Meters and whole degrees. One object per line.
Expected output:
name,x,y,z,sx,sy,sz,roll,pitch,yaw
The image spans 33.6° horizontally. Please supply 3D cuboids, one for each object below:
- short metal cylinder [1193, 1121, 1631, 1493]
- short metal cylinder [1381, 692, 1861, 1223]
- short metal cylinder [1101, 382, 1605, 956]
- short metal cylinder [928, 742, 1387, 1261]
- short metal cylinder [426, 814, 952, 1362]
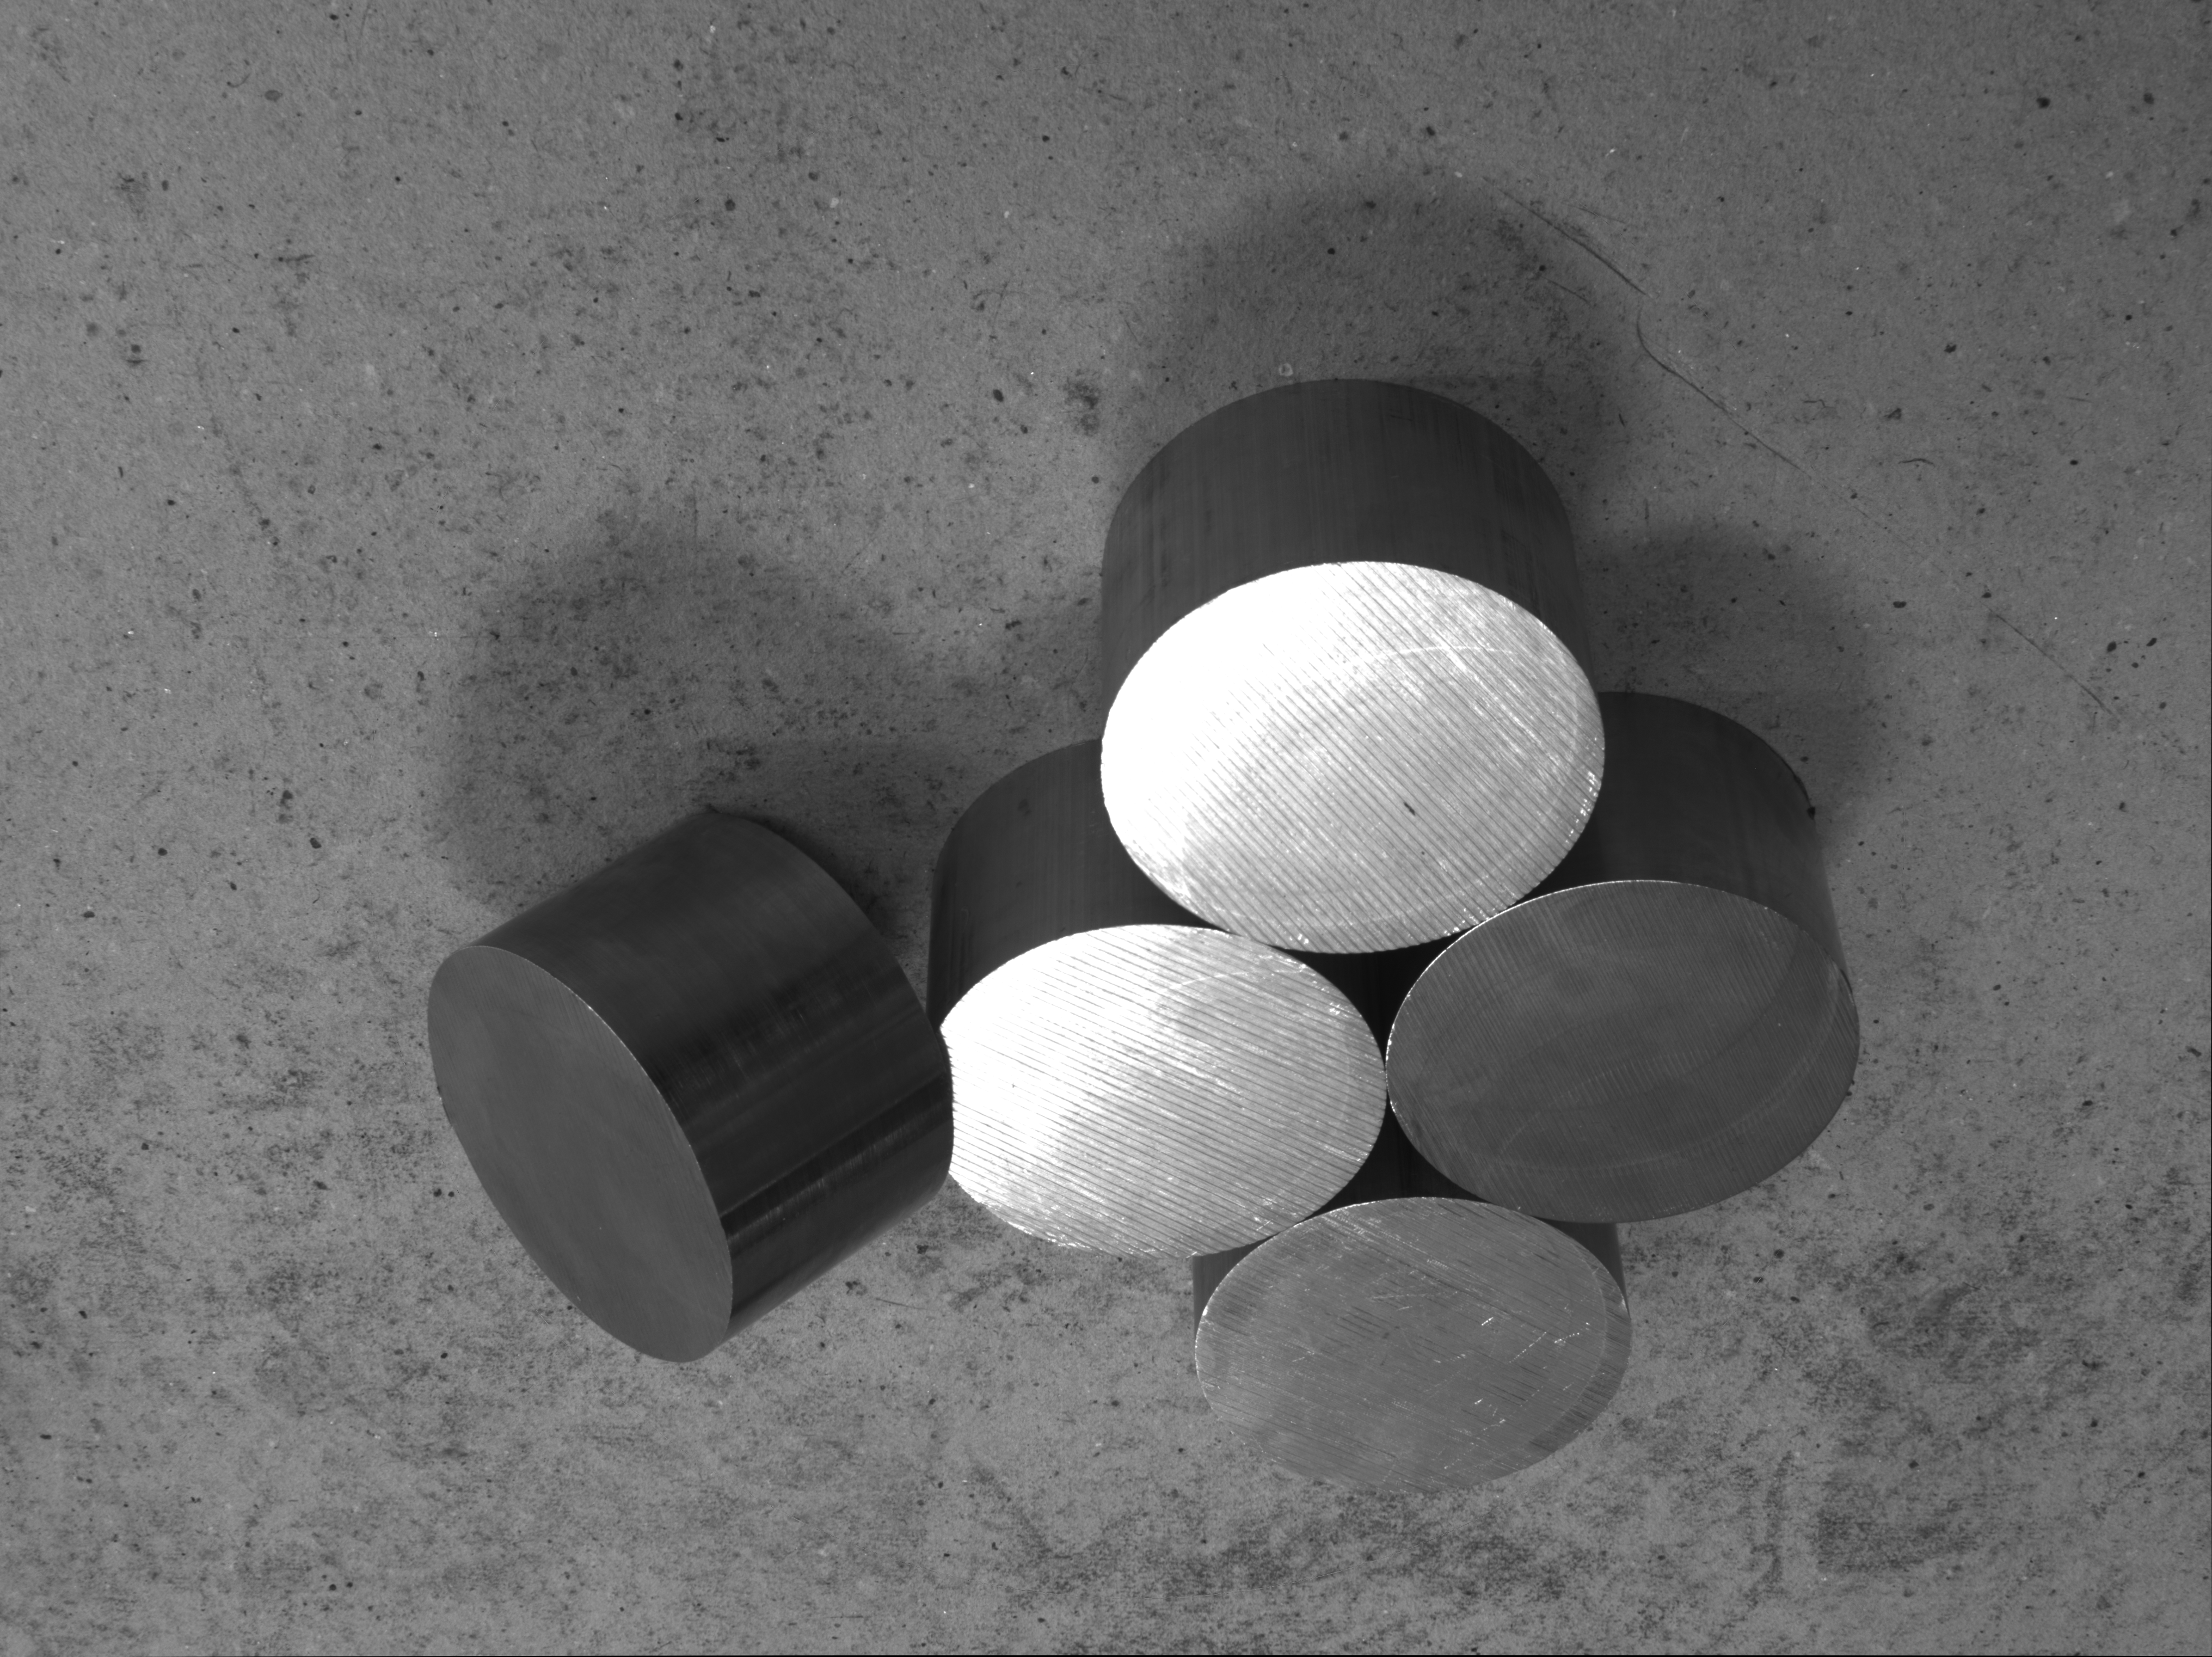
short metal cylinder,0.056,0.080,0.690,0.080,0.050,0.080,0,130,0
short metal cylinder,0.088,0.023,0.643,0.080,0.050,0.080,0,130,0
short metal cylinder,0.039,-0.026,0.601,0.080,0.050,0.080,0,130,0
short metal cylinder,0.008,0.031,0.649,0.080,0.050,0.080,0,130,0
short metal cylinder,-0.072,0.044,0.633,0.080,0.050,0.080,31,138,33
